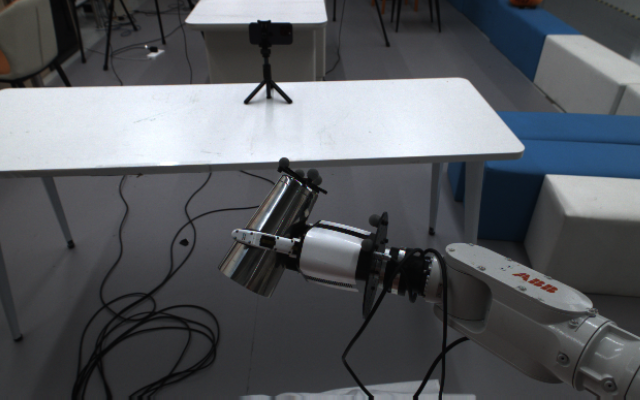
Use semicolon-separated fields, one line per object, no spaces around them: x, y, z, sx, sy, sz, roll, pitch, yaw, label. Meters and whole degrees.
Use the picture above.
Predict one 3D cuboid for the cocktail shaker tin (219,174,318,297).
-0.073;0.047;0.737;0.093;0.093;0.170;26;83;31;cocktail shaker tin
